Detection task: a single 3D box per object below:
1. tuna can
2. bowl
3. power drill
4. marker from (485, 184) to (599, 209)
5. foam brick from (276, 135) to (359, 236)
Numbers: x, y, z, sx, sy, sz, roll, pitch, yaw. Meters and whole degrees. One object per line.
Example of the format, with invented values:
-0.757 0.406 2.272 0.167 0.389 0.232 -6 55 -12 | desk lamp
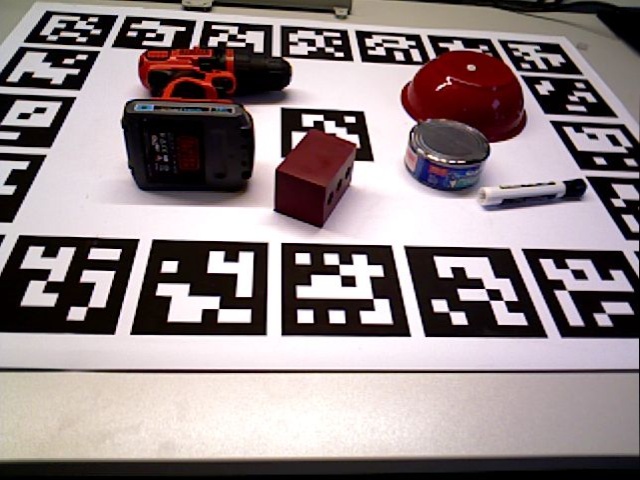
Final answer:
0.138 -0.089 0.567 0.085 0.034 0.084 5 45 -6 | tuna can
0.181 -0.178 0.660 0.161 0.056 0.159 1 38 -2 | bowl
-0.121 -0.139 0.576 0.183 0.059 0.184 3 43 -9 | power drill
0.224 -0.044 0.542 0.120 0.020 0.019 -5 48 -12 | marker
-0.002 -0.052 0.512 0.051 0.054 0.076 20 48 11 | foam brick
